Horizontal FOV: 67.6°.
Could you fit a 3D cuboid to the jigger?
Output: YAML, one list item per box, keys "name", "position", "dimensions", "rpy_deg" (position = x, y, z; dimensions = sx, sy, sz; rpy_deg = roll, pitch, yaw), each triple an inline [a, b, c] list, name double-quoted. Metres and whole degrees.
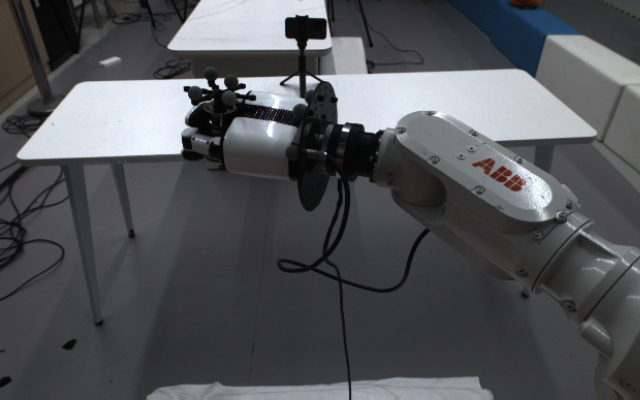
- name: "jigger"
  position: [-0.126, -0.087, 0.621]
  dimensions: [0.043, 0.071, 0.043]
  rpy_deg: [6, 32, -4]
